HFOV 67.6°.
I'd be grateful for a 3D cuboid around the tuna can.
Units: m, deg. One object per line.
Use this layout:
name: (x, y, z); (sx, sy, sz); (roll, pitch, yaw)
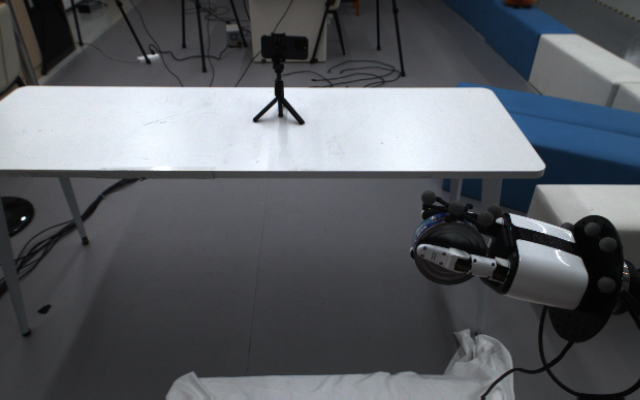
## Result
tuna can: (0.160, 0.056, 0.597); (0.085, 0.085, 0.034); (5, 18, 4)
